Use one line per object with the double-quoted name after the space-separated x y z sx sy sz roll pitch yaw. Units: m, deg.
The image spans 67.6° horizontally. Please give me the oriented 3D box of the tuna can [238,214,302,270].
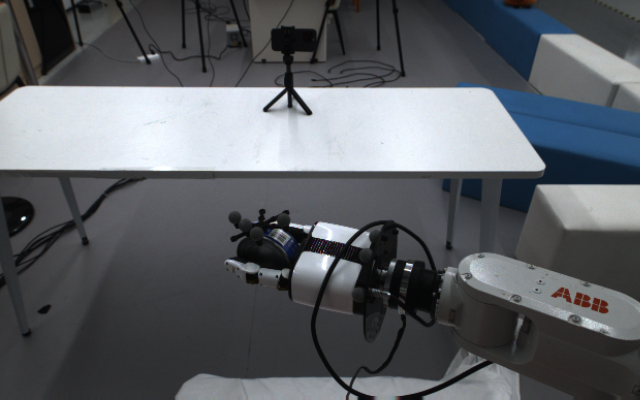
-0.066 0.076 0.662 0.085 0.085 0.034 17 36 20 "tuna can"
